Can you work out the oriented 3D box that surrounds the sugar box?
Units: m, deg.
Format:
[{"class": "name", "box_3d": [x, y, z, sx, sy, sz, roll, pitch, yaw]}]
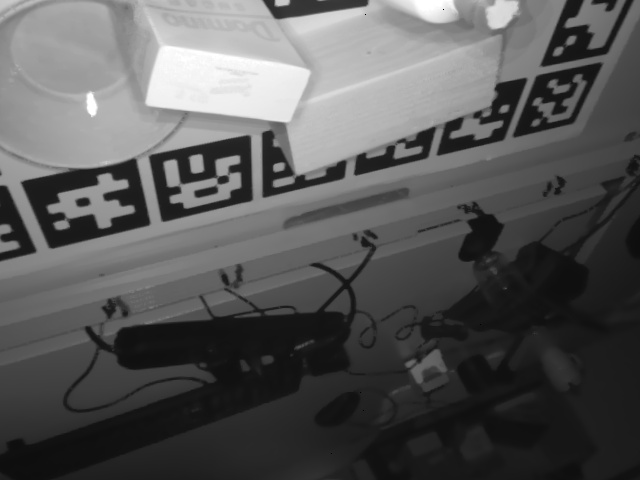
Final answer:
[{"class": "sugar box", "box_3d": [-0.069, -0.146, 0.453, 0.094, 0.176, 0.044, -3, 139, -36]}]

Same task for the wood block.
[{"class": "wood block", "box_3d": [0.073, -0.150, 0.632, 0.207, 0.090, 0.090, -19, 142, -9]}]

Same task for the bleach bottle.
[{"class": "bleach bottle", "box_3d": [0.064, -0.202, 0.404, 0.102, 0.251, 0.068, -29, 148, 5]}]

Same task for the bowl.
[{"class": "bowl", "box_3d": [-0.171, -0.124, 0.528, 0.163, 0.055, 0.160, -22, 147, -14]}]
